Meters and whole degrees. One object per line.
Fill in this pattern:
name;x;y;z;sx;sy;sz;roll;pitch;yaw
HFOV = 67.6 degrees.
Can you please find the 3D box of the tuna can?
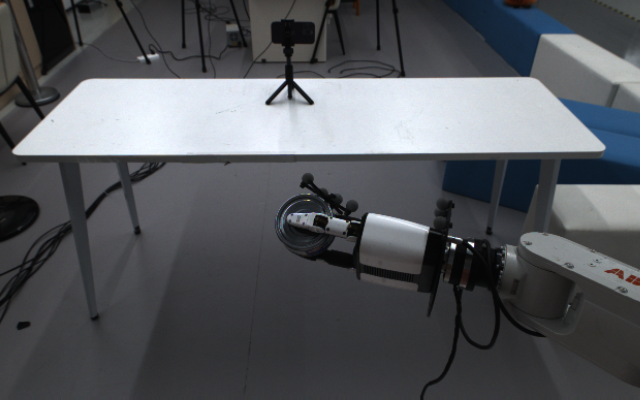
tuna can;-0.018;0.034;0.685;0.085;0.034;0.085;-4;69;10
